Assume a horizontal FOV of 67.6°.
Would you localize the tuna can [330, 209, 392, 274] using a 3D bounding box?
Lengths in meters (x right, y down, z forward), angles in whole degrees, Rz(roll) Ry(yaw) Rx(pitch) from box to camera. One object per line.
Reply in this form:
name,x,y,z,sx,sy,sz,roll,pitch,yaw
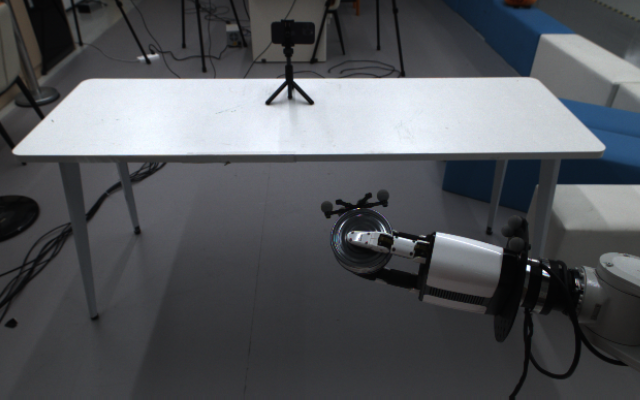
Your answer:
tuna can,0.061,0.060,0.649,0.085,0.034,0.085,-4,68,9
